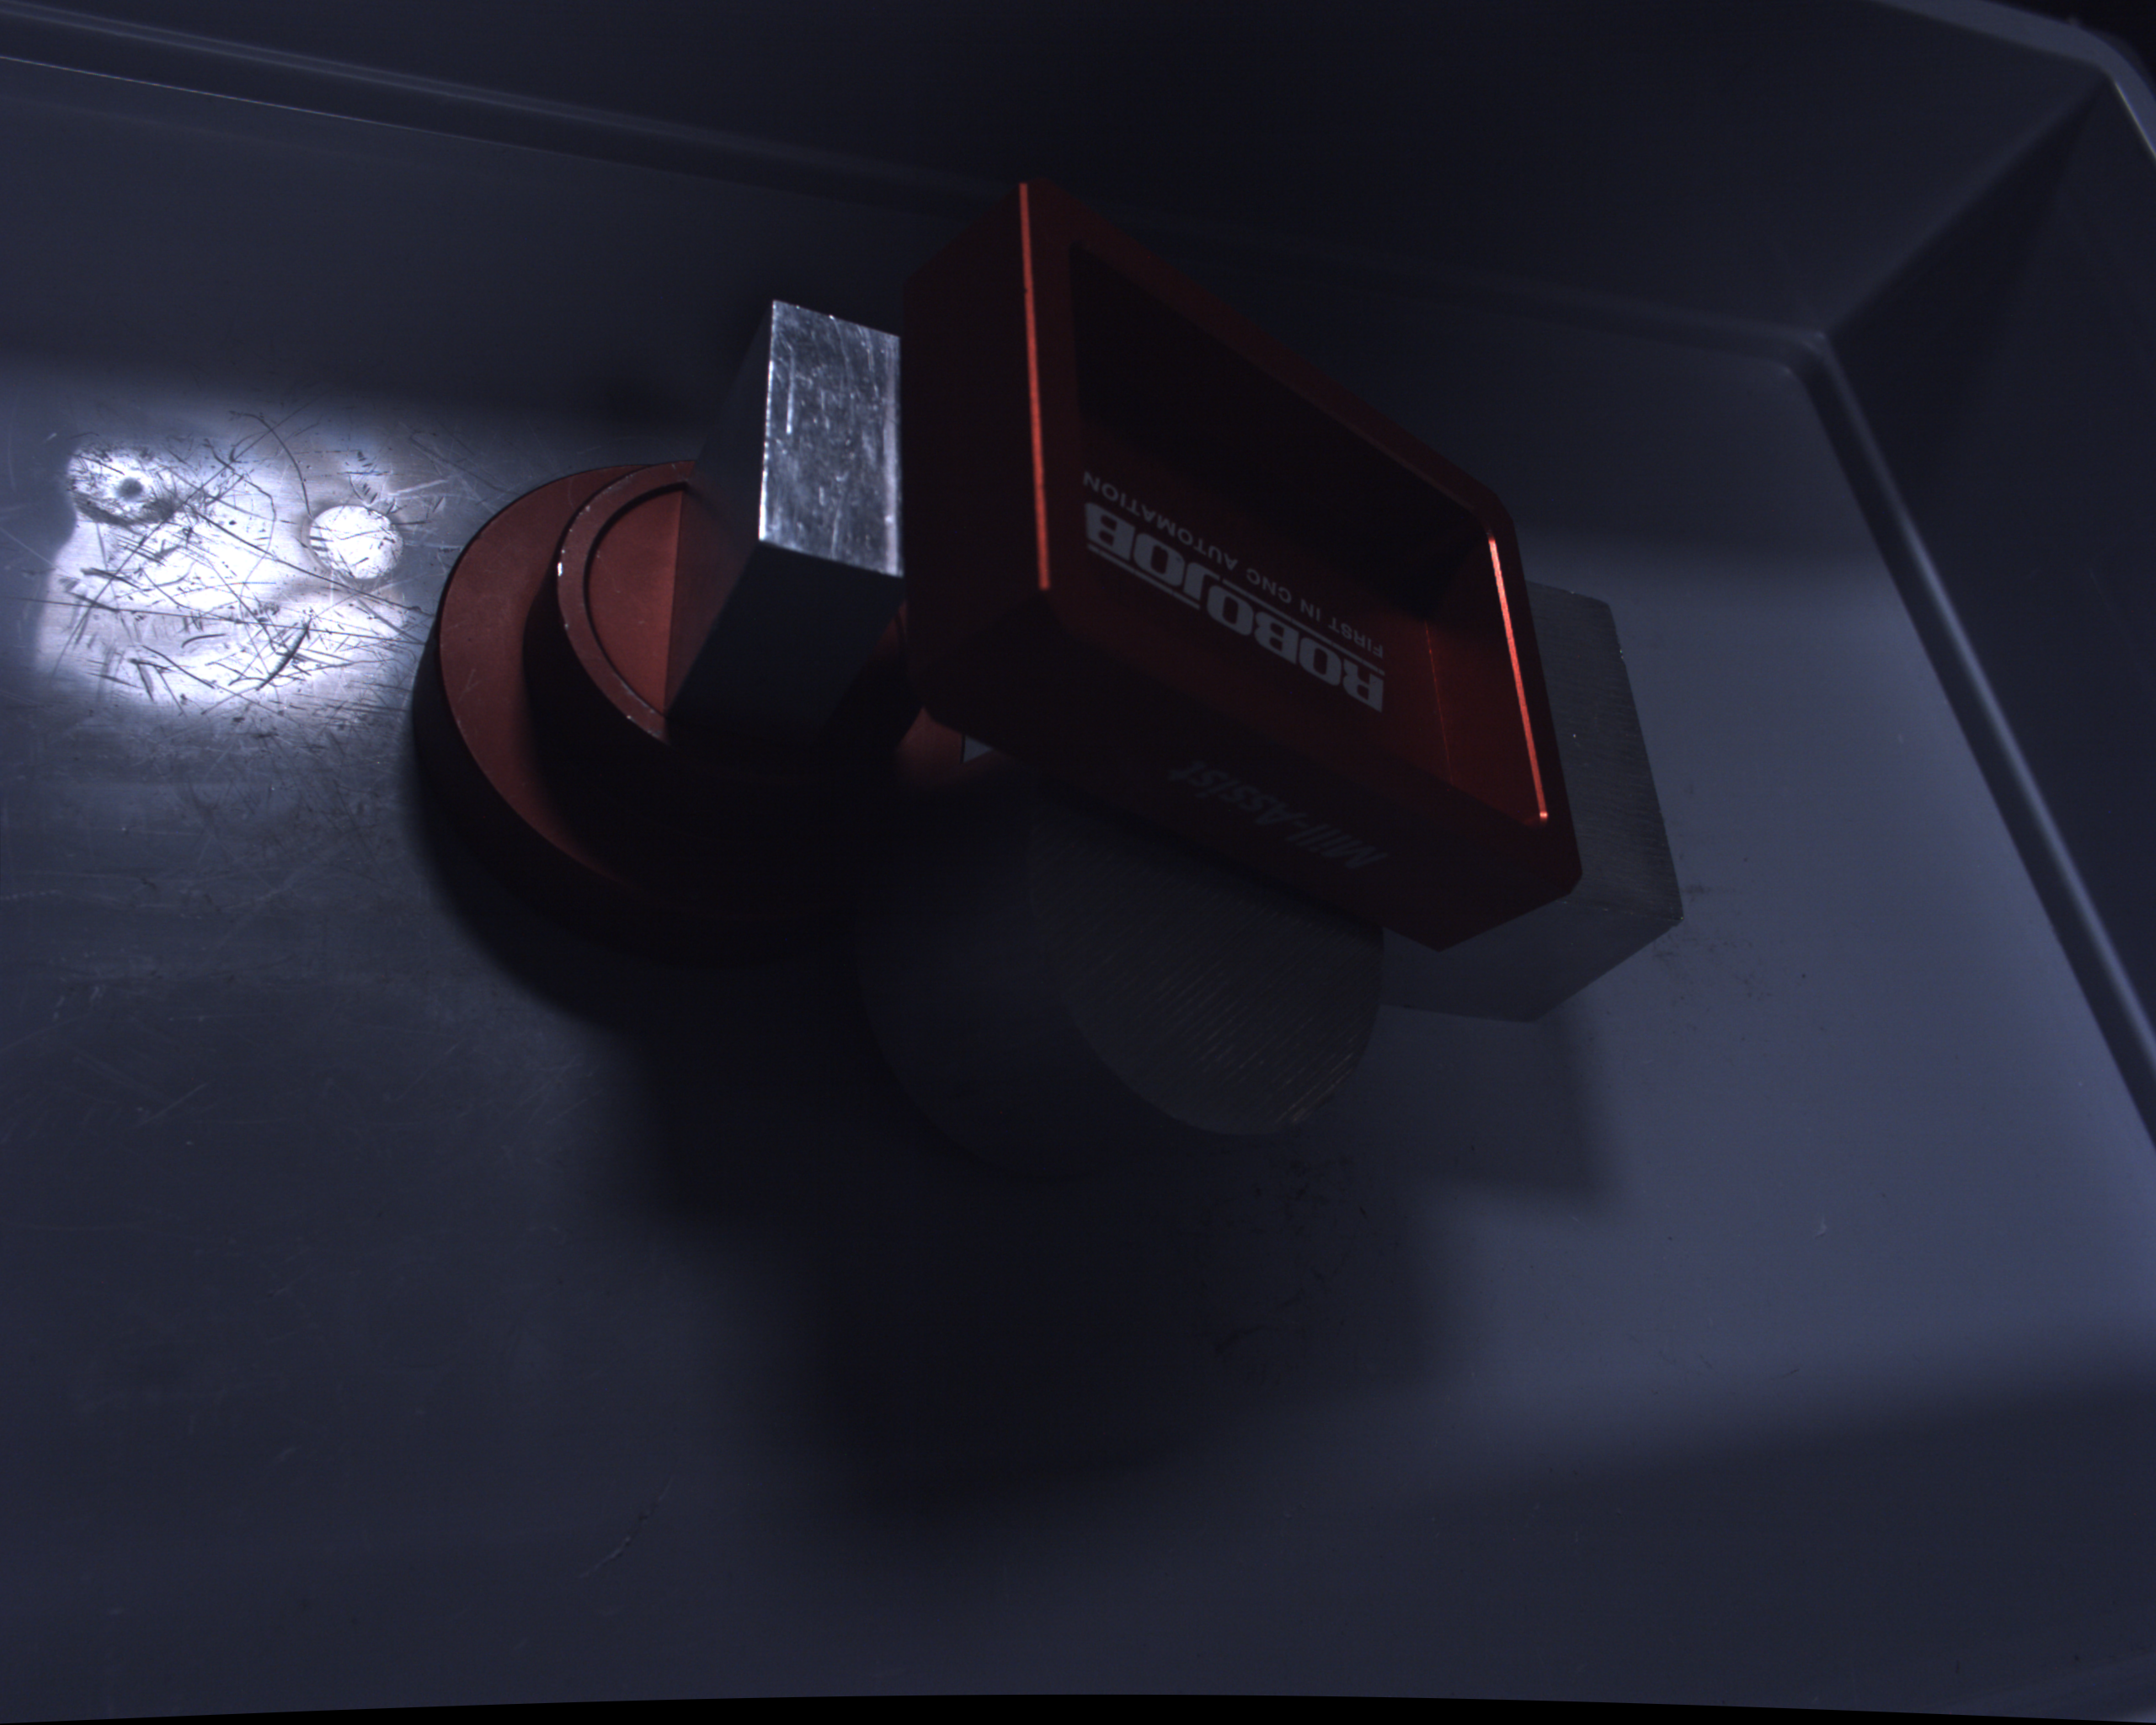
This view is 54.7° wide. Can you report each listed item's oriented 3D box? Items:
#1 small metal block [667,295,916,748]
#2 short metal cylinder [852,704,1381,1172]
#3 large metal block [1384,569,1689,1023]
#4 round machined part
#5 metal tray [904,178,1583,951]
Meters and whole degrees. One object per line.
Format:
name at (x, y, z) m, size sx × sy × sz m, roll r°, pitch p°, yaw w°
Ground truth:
small metal block at (-0.047, -0.055, 0.343) m, size 0.025 × 0.050 × 0.050 m, roll 12°, pitch 57°, yaw -22°
short metal cylinder at (0.008, 0.012, 0.371) m, size 0.081 × 0.050 × 0.080 m, roll 15°, pitch 66°, yaw -36°
large metal block at (0.072, -0.017, 0.437) m, size 0.081 × 0.050 × 0.080 m, roll 9°, pitch 58°, yaw -24°
round machined part at (-0.066, -0.033, 0.378) m, size 0.099 × 0.042 × 0.098 m, roll 14°, pitch 56°, yaw -21°
metal tray at (0.030, -0.047, 0.356) m, size 0.131 × 0.030 × 0.090 m, roll 23°, pitch 51°, yaw -39°
